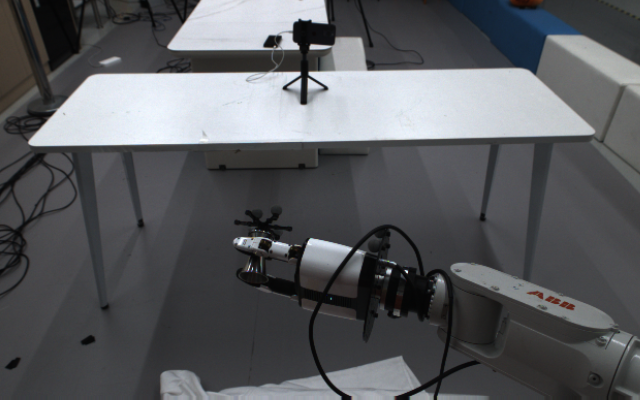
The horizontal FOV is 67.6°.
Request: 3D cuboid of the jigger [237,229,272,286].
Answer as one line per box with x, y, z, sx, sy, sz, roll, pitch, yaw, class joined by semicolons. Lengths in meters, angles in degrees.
-0.094;0.082;0.712;0.043;0.043;0.071;5;61;5;jigger
